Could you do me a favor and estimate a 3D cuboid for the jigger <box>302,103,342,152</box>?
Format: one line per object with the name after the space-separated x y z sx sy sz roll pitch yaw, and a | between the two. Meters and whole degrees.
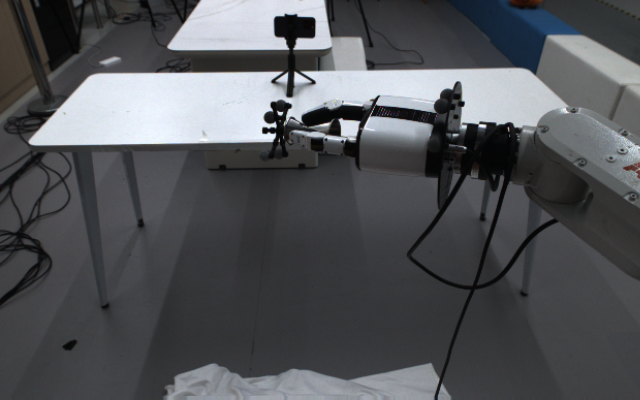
-0.005 -0.095 0.663 0.071 0.043 0.043 8 34 23 | jigger
